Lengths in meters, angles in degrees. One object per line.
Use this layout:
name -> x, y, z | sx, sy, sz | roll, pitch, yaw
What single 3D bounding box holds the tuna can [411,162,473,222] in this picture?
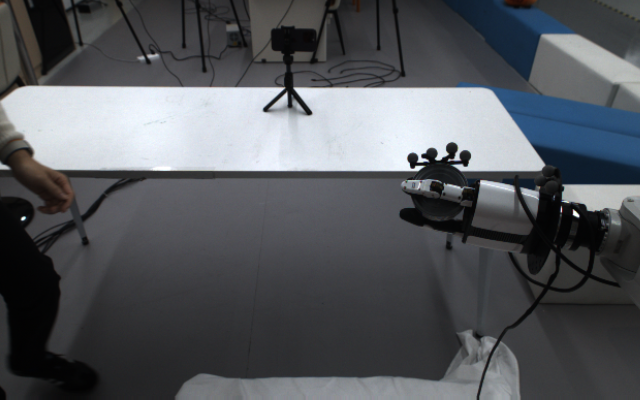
tuna can -> 0.183, -0.013, 0.743 | 0.085, 0.034, 0.085 | -5, 71, 15
